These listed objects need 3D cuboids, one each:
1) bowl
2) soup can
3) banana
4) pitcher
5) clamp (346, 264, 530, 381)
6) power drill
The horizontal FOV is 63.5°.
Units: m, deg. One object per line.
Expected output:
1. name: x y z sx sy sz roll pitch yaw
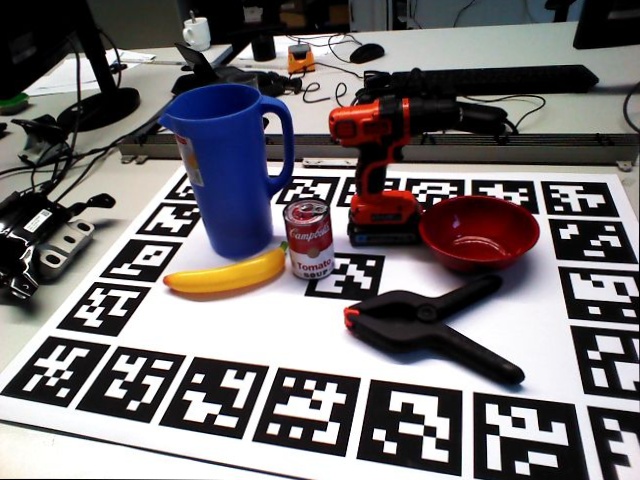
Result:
1. bowl: 0.222 -0.008 0.719 0.162 0.055 0.161 -6 38 5
2. soup can: -0.009 -0.009 0.732 0.068 0.102 0.067 -5 29 2
3. banana: -0.136 0.044 0.745 0.197 0.039 0.074 -12 29 -7
4. pitcher: -0.122 -0.107 0.766 0.189 0.243 0.133 -13 34 -5
5. clamp: 0.132 0.089 0.616 0.204 0.037 0.164 0 42 12
6. power drill: 0.118 -0.113 0.739 0.185 0.187 0.057 -1 38 10
